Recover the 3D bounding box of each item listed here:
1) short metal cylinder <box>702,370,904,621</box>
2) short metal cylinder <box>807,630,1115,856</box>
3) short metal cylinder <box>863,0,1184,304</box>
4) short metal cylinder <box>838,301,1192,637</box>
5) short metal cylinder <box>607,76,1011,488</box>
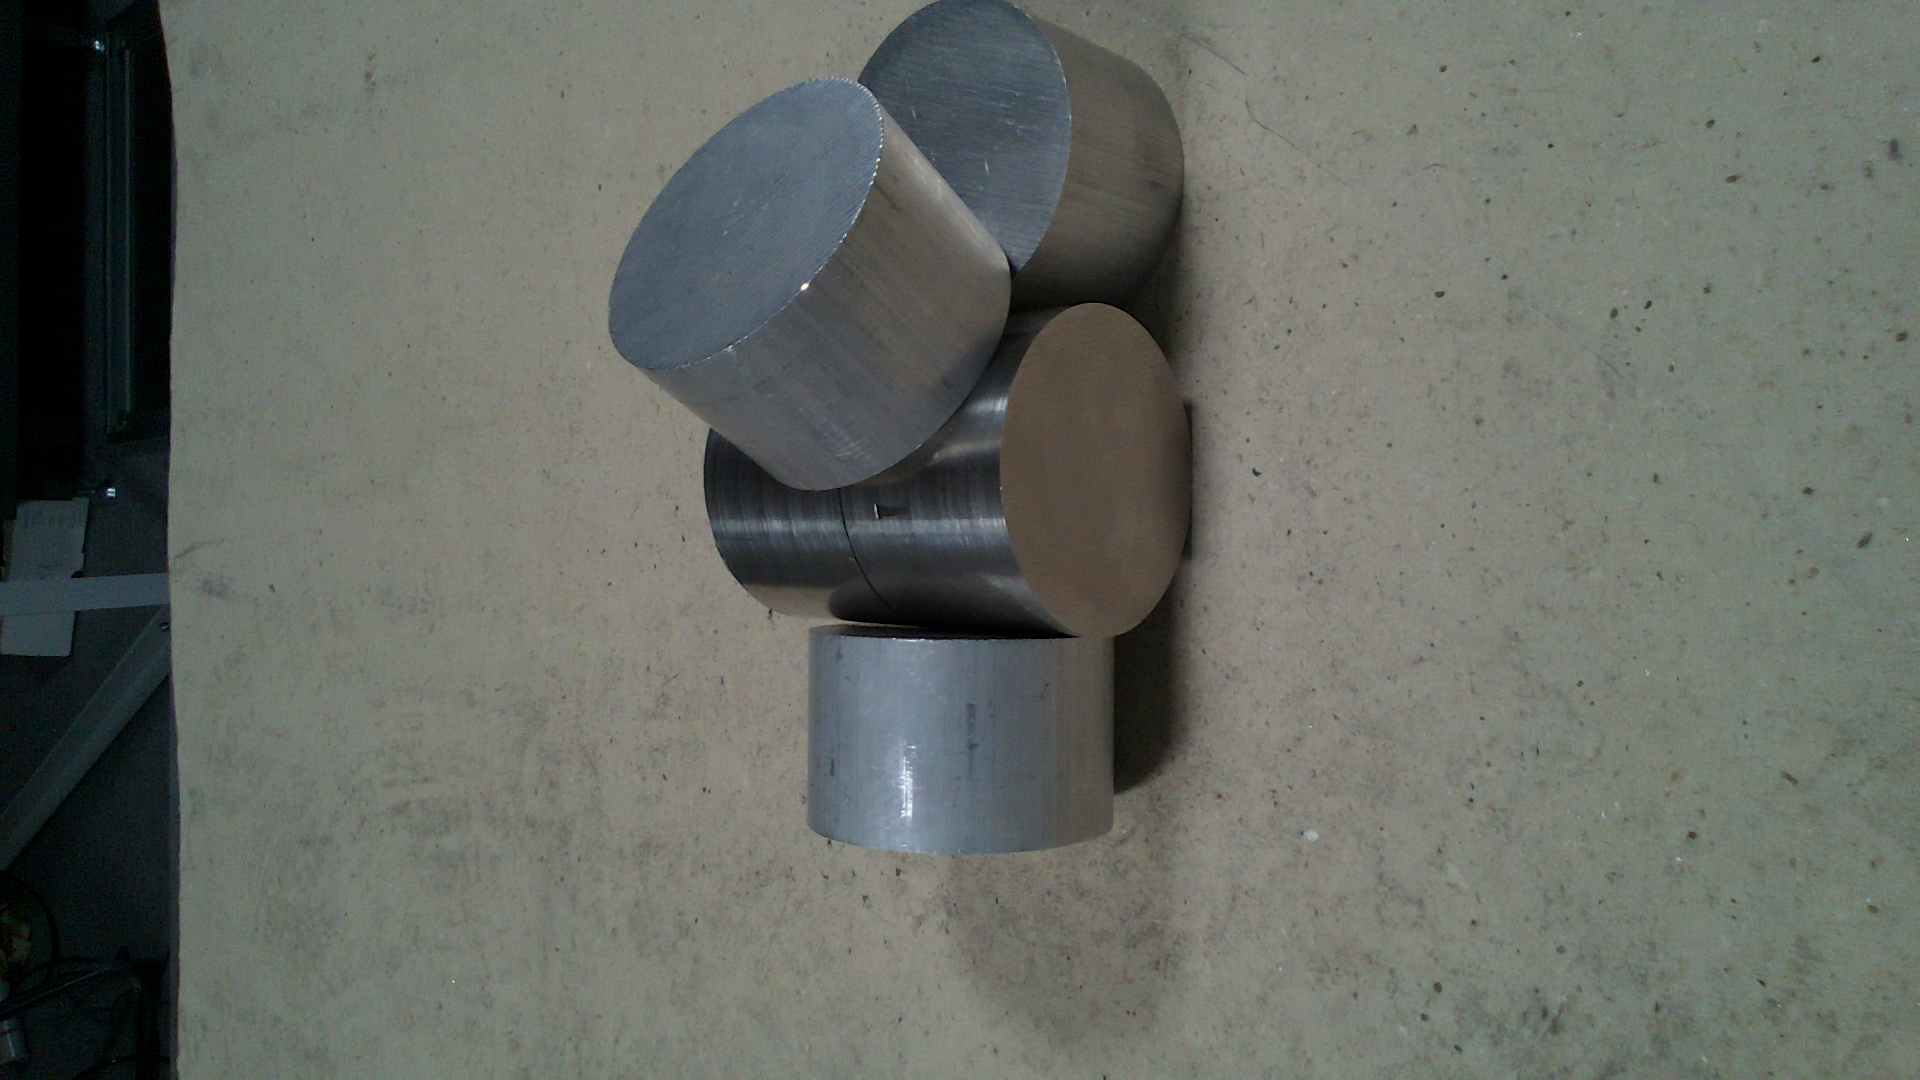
[{"bbox_3d":[-0.023,-0.017,0.379,0.050,0.080,0.080,1,91,40],"label":"short metal cylinder"},{"bbox_3d":[0.000,0.048,0.359,0.080,0.080,0.050,0,90,40],"label":"short metal cylinder"},{"bbox_3d":[0.012,-0.097,0.369,0.080,0.050,0.080,0,90,40],"label":"short metal cylinder"},{"bbox_3d":[0.016,-0.017,0.345,0.050,0.080,0.080,0,90,41],"label":"short metal cylinder"},{"bbox_3d":[-0.035,-0.059,0.321,0.080,0.050,0.080,-21,49,27],"label":"short metal cylinder"}]
